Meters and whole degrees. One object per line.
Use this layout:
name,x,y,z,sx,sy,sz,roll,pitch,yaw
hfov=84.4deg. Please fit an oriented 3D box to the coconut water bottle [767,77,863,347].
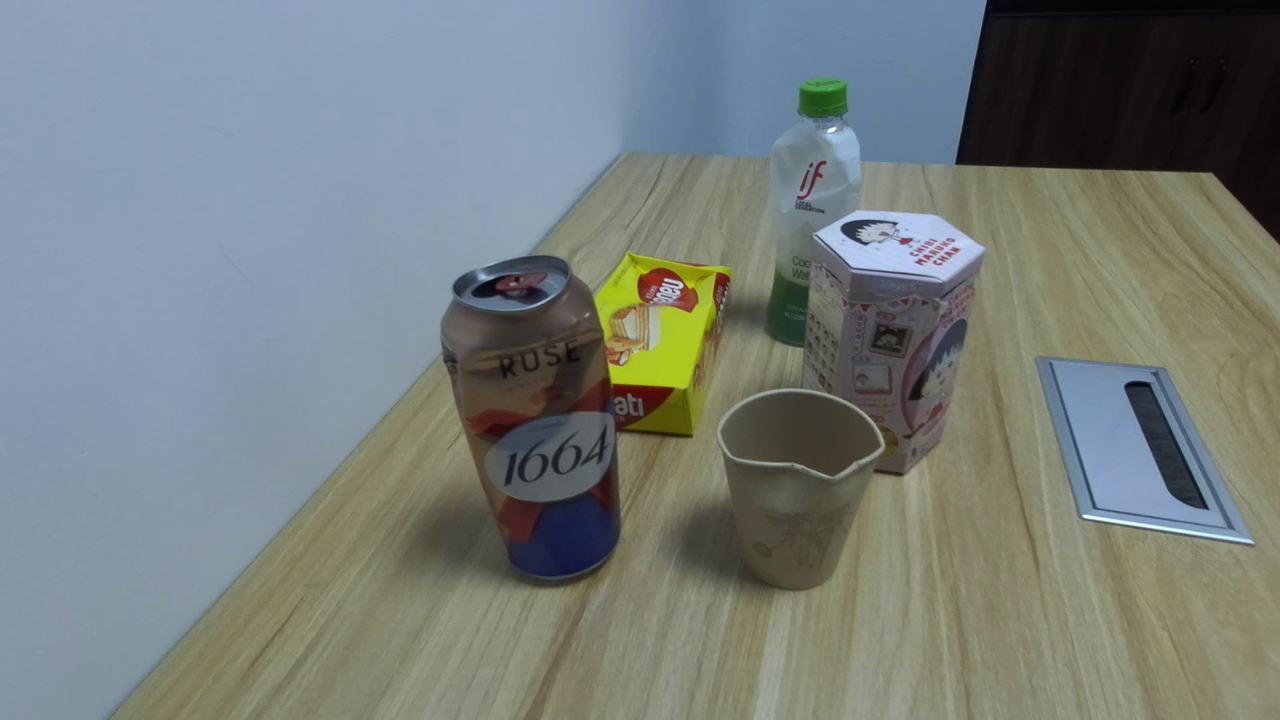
coconut water bottle,0.126,-0.102,0.510,0.067,0.187,0.067,-3,33,2

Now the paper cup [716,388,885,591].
paper cup,0.077,0.067,0.360,0.074,0.081,0.068,-25,40,-28

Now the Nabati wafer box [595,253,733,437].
Nabati wafer box,0.010,-0.024,0.538,0.096,0.042,0.203,5,35,14

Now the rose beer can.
rose beer can,-0.049,0.033,0.358,0.076,0.167,0.065,-10,30,-4

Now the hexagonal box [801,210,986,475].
hexagonal box,0.146,-0.010,0.419,0.091,0.136,0.083,-31,42,-32
